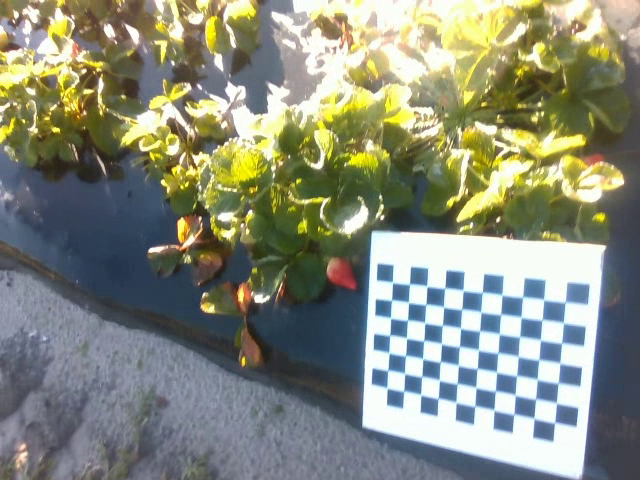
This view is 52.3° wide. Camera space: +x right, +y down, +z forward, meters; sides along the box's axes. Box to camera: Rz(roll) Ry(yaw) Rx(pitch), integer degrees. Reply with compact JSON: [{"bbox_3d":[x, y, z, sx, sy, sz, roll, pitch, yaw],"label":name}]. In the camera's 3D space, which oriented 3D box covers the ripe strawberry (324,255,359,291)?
[{"bbox_3d":[0.030,0.056,0.968,0.040,0.065,0.040,-48,-18,20],"label":"ripe strawberry"}]
